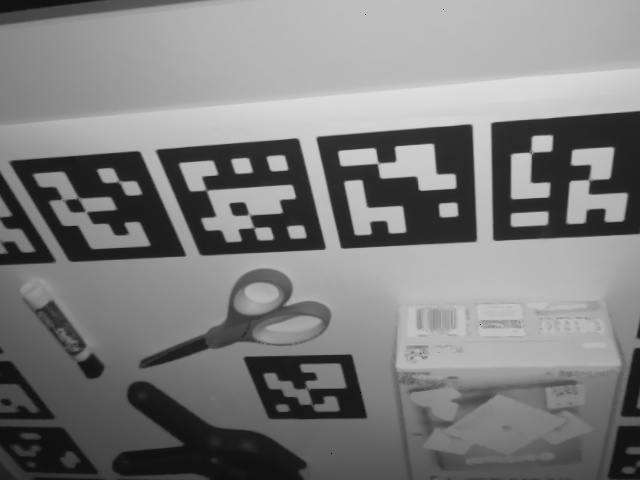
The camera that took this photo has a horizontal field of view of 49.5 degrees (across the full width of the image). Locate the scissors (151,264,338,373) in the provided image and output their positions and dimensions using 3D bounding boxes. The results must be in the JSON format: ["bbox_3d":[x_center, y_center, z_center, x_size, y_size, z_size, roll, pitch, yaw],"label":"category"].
[{"bbox_3d":[-0.076,0.083,0.601,0.200,0.016,0.088,-28,123,29],"label":"scissors"}]

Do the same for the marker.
[{"bbox_3d":[-0.217,0.089,0.621,0.019,0.020,0.120,-7,129,13],"label":"marker"}]

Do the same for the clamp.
[{"bbox_3d":[-0.093,0.226,0.729,0.204,0.037,0.163,20,130,-9],"label":"clamp"}]

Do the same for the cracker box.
[{"bbox_3d":[0.163,0.147,0.594,0.163,0.073,0.212,-3,129,9],"label":"cracker box"}]
